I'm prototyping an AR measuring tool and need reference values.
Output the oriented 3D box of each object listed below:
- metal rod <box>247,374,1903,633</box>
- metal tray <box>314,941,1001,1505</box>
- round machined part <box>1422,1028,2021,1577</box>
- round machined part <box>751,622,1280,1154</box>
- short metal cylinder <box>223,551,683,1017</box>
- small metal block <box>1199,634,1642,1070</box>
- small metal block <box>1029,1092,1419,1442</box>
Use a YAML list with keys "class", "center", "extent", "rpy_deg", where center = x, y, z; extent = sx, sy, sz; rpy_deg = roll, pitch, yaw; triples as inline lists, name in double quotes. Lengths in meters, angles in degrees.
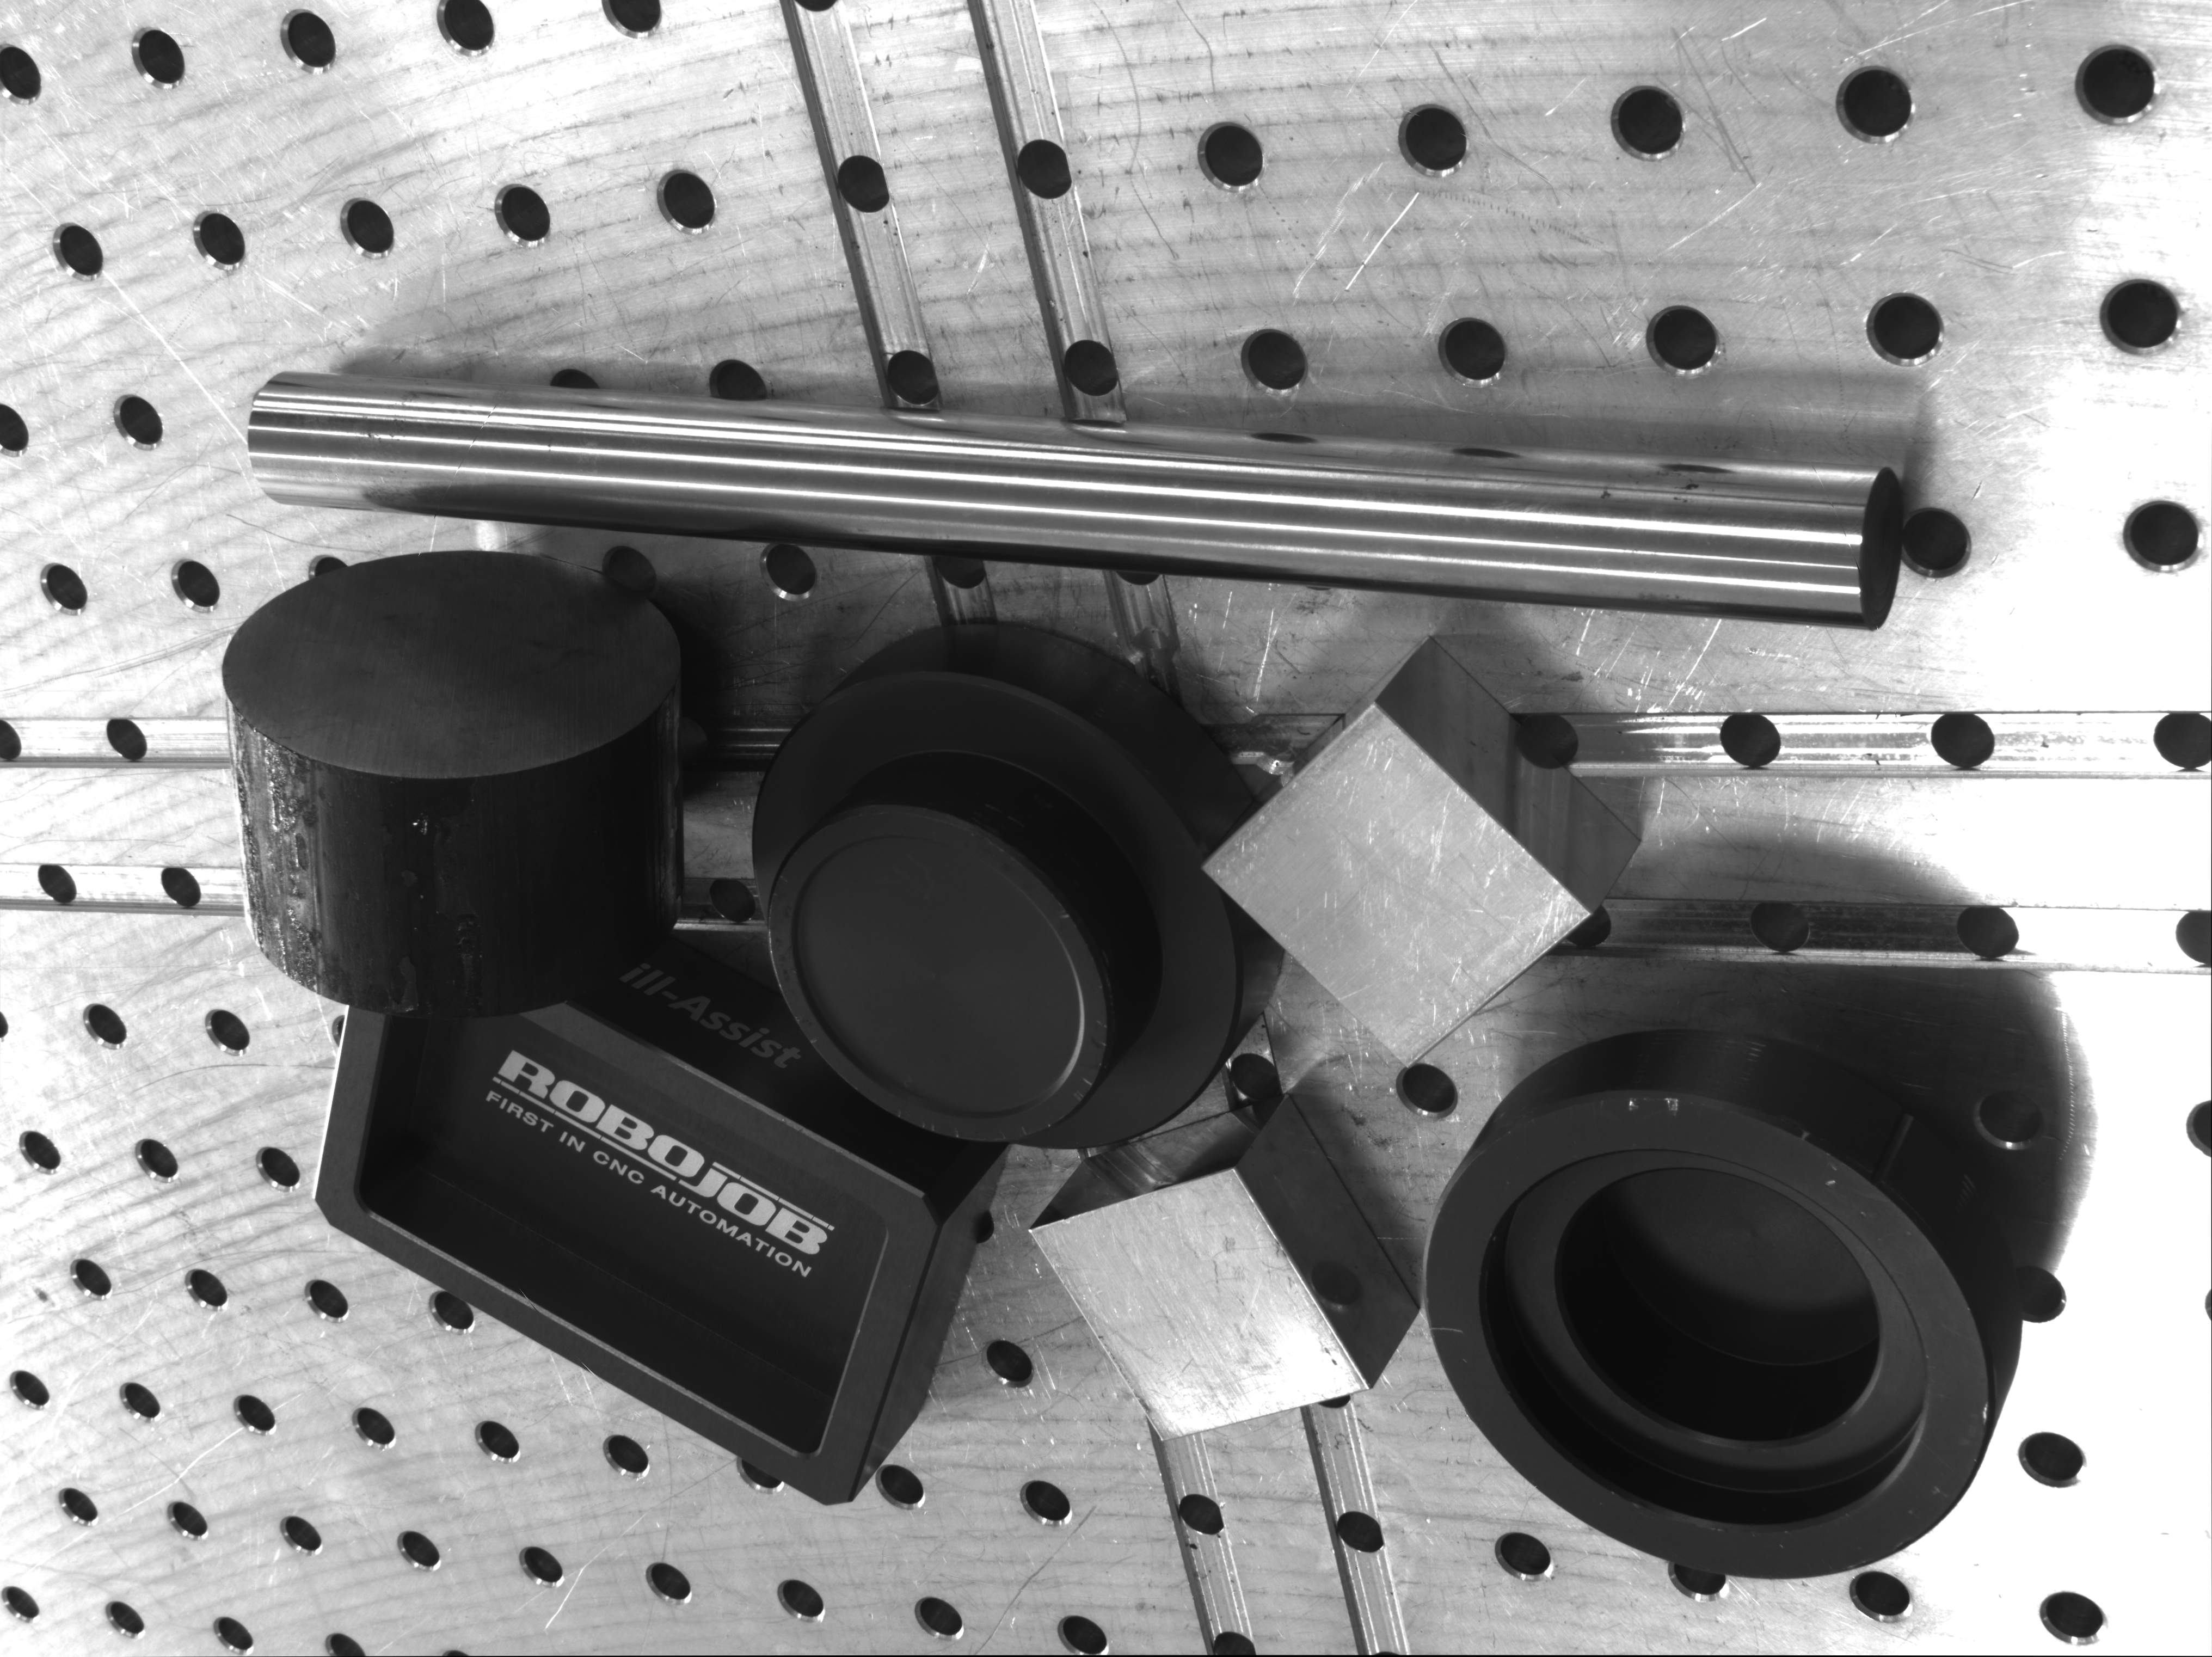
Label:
- class: "metal rod"
  center: [-0.017, -0.057, 0.619]
  extent: [0.299, 0.025, 0.025]
  rpy_deg: [6, 121, 25]
- class: "metal tray"
  center: [-0.091, 0.068, 0.733]
  extent: [0.130, 0.030, 0.090]
  rpy_deg: [27, 128, 11]
- class: "round machined part"
  center: [0.107, 0.075, 0.623]
  extent: [0.098, 0.042, 0.098]
  rpy_deg: [13, 124, 21]
- class: "round machined part"
  center: [-0.021, 0.016, 0.655]
  extent: [0.098, 0.042, 0.098]
  rpy_deg: [12, 121, 22]
- class: "short metal cylinder"
  center: [-0.118, -0.009, 0.667]
  extent: [0.080, 0.080, 0.050]
  rpy_deg: [16, 125, 19]
- class: "small metal block"
  center: [0.053, 0.004, 0.620]
  extent: [0.050, 0.025, 0.050]
  rpy_deg: [44, 129, -2]
- class: "small metal block"
  center: [0.022, 0.082, 0.684]
  extent: [0.050, 0.025, 0.050]
  rpy_deg: [-21, 107, 36]
